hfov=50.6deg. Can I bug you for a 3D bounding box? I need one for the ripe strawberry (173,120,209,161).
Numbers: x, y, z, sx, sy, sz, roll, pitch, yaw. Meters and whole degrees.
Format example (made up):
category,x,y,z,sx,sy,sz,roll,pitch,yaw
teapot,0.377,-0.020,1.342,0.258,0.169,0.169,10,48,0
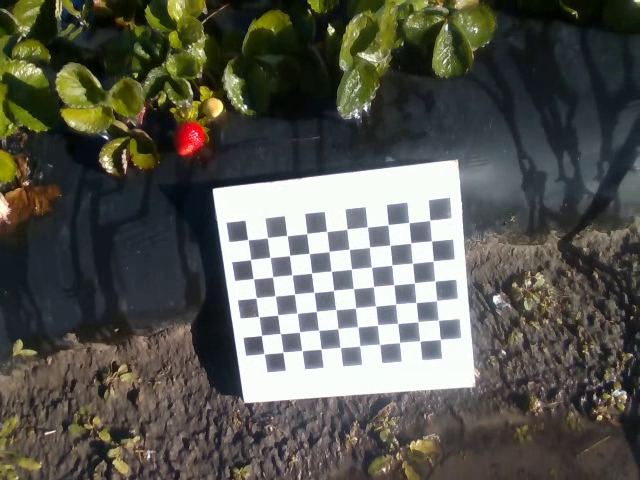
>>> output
category,x,y,z,sx,sy,sz,roll,pitch,yaw
ripe strawberry,-0.121,-0.089,0.617,0.039,0.040,0.039,-14,33,20
